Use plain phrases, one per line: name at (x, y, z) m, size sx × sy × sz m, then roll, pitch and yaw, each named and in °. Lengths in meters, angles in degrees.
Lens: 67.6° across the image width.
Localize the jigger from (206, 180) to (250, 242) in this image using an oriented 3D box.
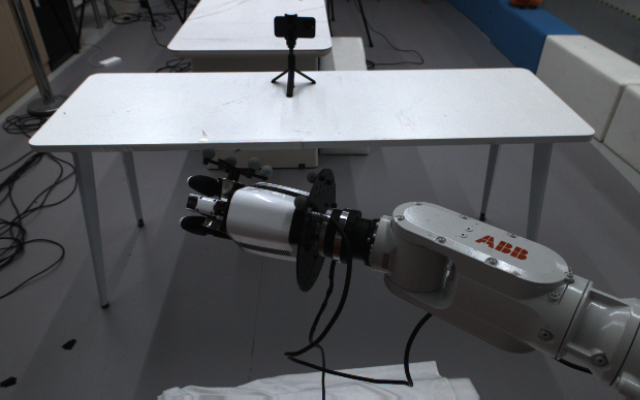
jigger at (-0.124, 0.008, 0.648) m, size 0.043 × 0.071 × 0.043 m, roll 15°, pitch -7°, yaw 2°
